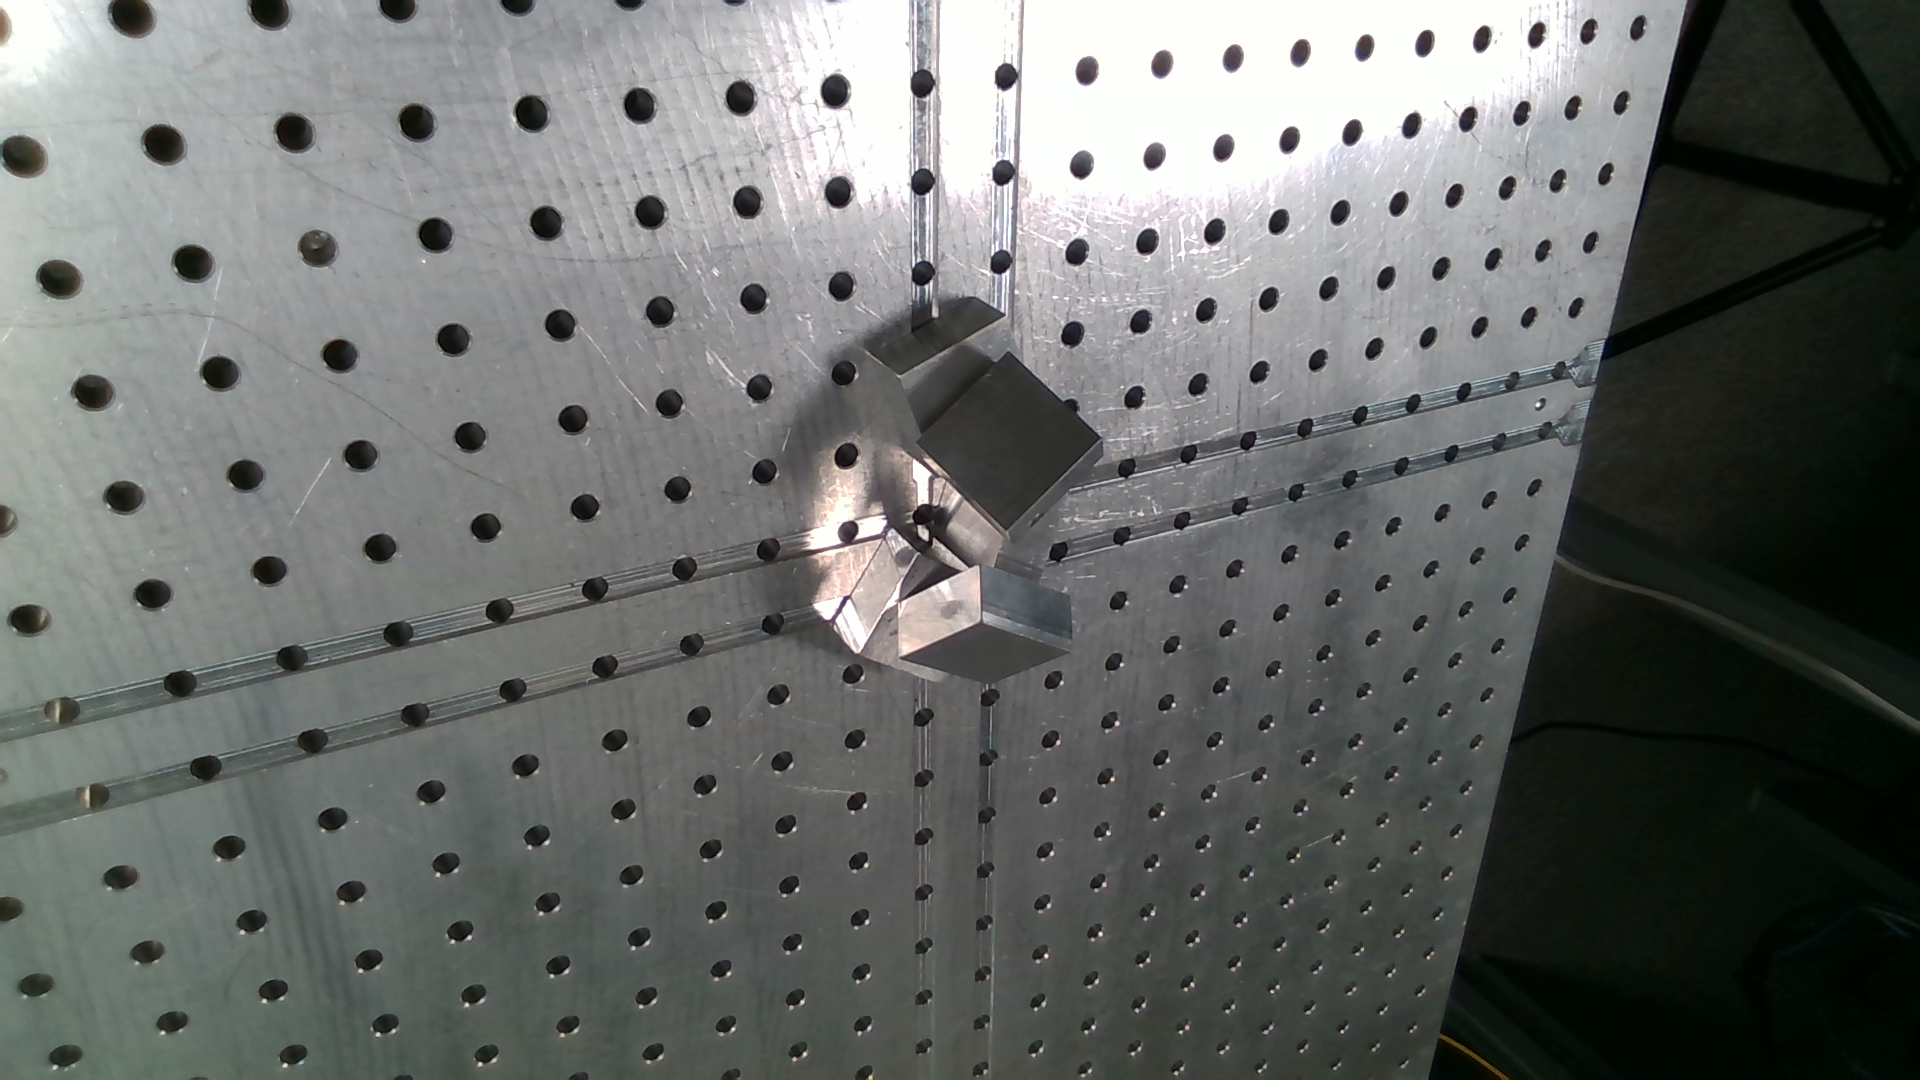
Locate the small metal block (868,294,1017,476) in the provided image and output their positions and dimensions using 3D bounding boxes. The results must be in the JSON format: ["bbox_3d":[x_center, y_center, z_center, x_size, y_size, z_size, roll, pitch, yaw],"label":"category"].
[{"bbox_3d":[-0.002,-0.062,0.550,0.050,0.025,0.050,-31,127,-14],"label":"small metal block"}]

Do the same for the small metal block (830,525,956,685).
[{"bbox_3d":[-0.019,0.028,0.588,0.050,0.025,0.050,25,100,-38],"label":"small metal block"}]

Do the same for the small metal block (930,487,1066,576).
[{"bbox_3d":[0.016,-0.014,0.570,0.025,0.050,0.050,5,112,-33],"label":"small metal block"}]

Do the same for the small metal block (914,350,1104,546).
[{"bbox_3d":[0.019,-0.035,0.525,0.050,0.050,0.025,-45,168,-3],"label":"small metal block"}]

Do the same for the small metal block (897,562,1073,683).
[{"bbox_3d":[0.010,0.035,0.558,0.050,0.025,0.050,19,148,-38],"label":"small metal block"}]
